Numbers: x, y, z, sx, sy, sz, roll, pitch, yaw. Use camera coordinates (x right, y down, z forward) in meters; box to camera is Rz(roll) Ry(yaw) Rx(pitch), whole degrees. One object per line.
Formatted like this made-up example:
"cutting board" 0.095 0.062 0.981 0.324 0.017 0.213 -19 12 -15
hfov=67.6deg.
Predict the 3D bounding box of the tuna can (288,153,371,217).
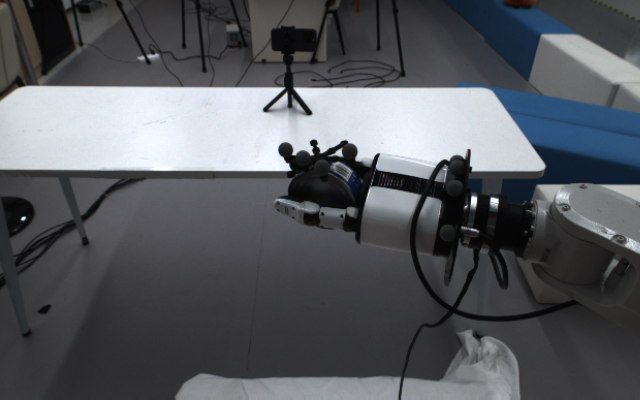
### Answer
"tuna can" 0.009 -0.010 0.581 0.085 0.085 0.034 14 41 16
